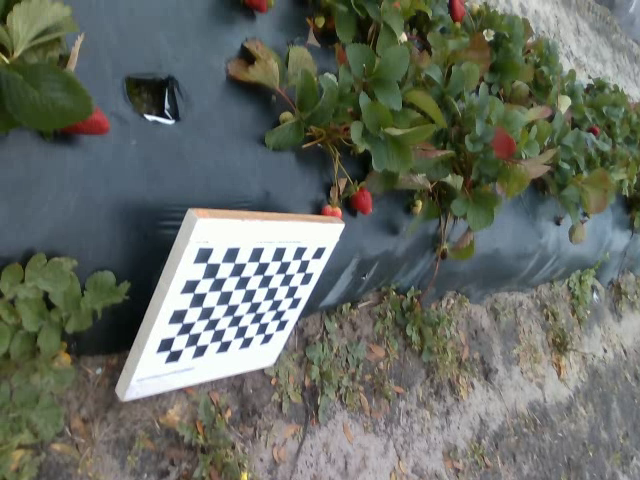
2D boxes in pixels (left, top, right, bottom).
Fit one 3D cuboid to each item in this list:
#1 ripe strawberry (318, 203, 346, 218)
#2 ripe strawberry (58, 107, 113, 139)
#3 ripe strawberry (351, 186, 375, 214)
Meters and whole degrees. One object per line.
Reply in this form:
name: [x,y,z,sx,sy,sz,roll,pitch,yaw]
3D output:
ripe strawberry: [0.022,-0.035,0.972,0.036,0.041,0.027,7,9,-43]
ripe strawberry: [-0.238,-0.122,0.656,0.064,0.046,0.049,27,20,-25]
ripe strawberry: [0.071,-0.063,1.029,0.044,0.059,0.041,-32,32,-11]
